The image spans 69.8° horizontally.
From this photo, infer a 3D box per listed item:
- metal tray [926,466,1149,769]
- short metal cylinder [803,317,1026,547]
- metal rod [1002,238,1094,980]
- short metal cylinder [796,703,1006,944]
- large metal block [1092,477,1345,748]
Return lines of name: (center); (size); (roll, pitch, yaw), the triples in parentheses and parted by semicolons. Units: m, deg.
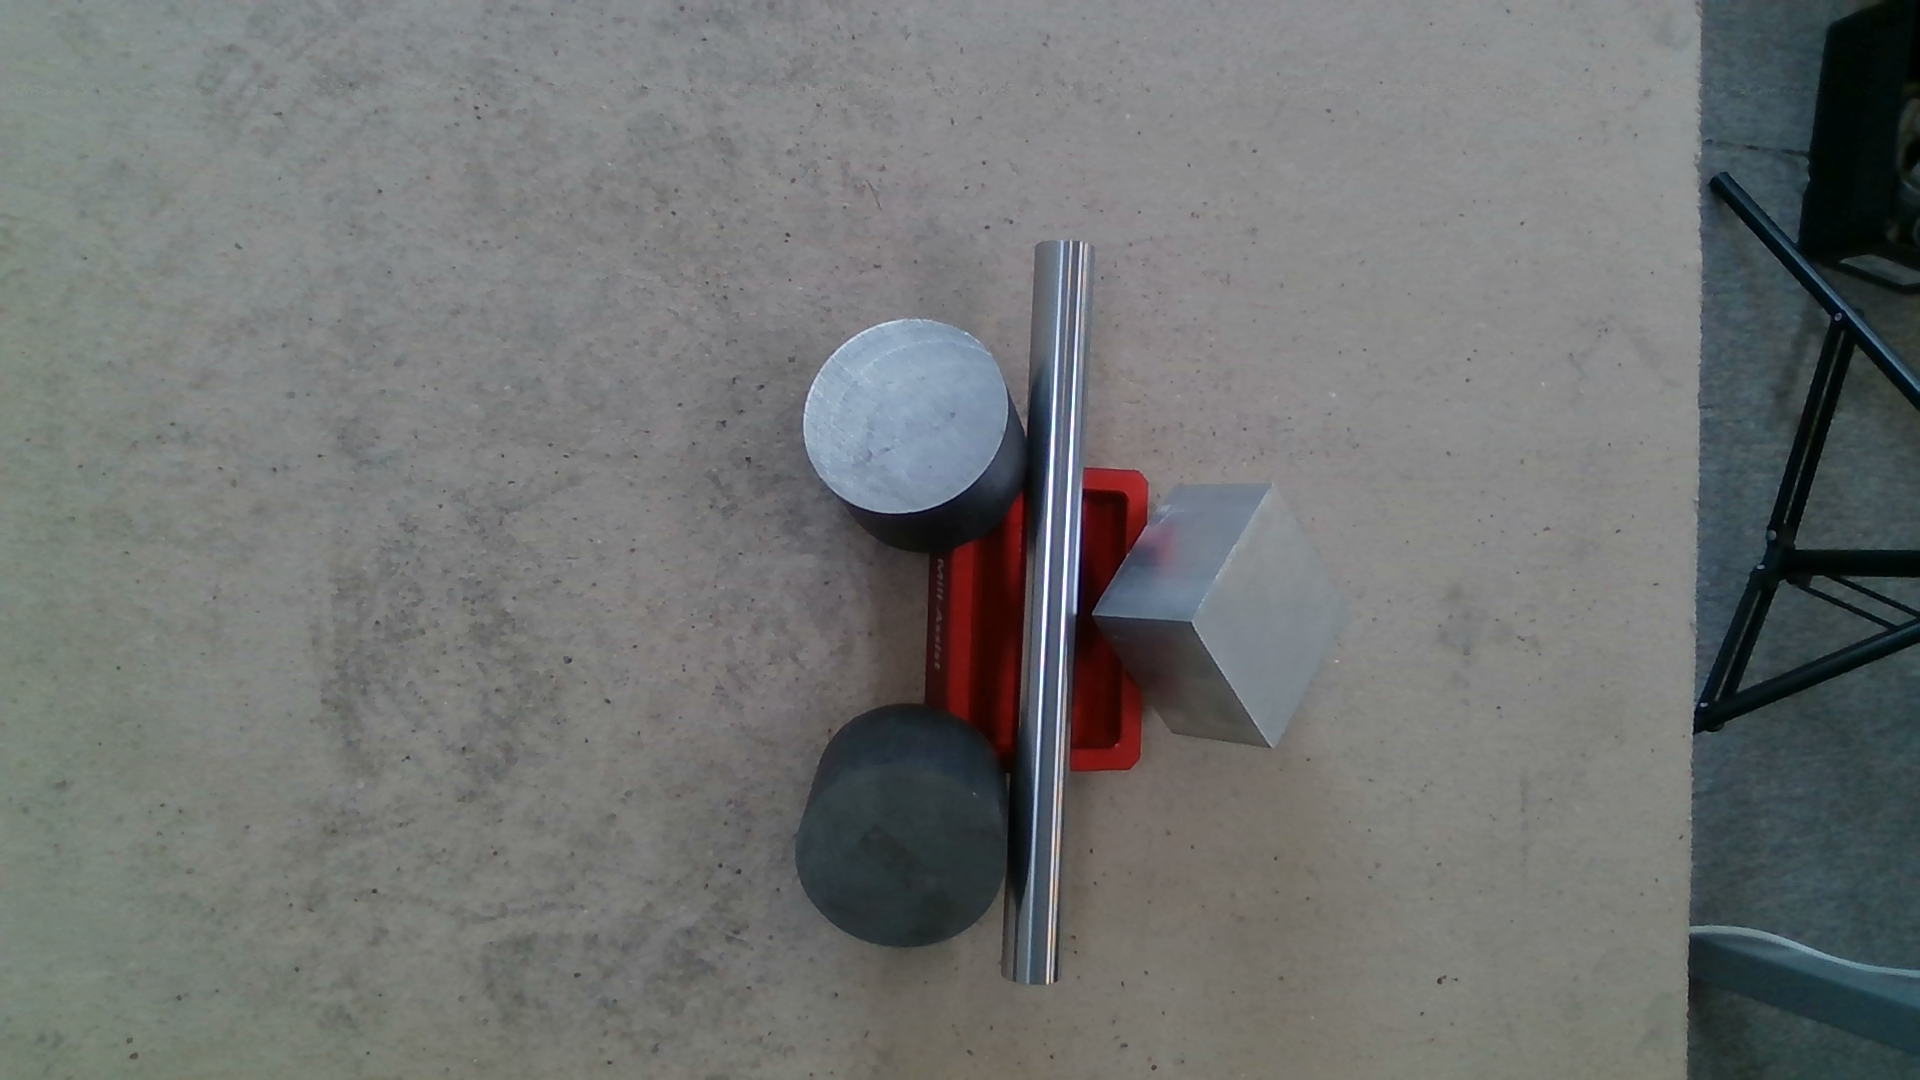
metal tray: (0.033, 0.033, 0.597); (0.090, 0.030, 0.130); (2, 90, -20)
short metal cylinder: (-0.017, -0.041, 0.547); (0.080, 0.050, 0.080); (-3, 72, 10)
metal rod: (0.036, 0.028, 0.568); (0.025, 0.025, 0.300); (3, 89, -20)
short metal cylinder: (-0.022, 0.112, 0.548); (0.080, 0.050, 0.080); (1, 109, 2)
large metal block: (0.113, 0.030, 0.592); (0.080, 0.050, 0.080); (54, 57, -30)
